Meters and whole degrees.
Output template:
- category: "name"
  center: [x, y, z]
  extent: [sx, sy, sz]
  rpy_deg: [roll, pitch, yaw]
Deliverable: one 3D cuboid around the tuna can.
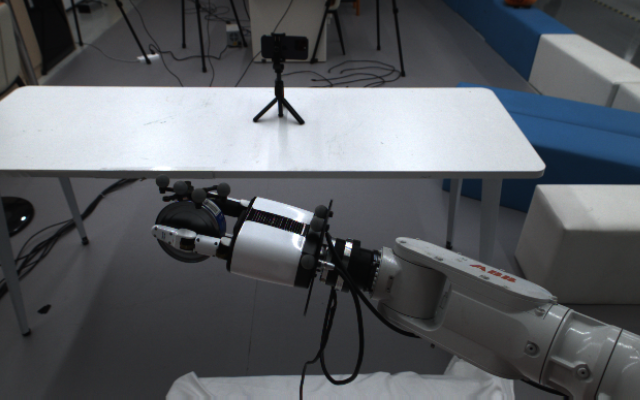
- category: "tuna can"
  center: [-0.166, 0.037, 0.629]
  extent: [0.085, 0.085, 0.034]
  rpy_deg: [6, 17, 5]
